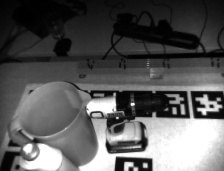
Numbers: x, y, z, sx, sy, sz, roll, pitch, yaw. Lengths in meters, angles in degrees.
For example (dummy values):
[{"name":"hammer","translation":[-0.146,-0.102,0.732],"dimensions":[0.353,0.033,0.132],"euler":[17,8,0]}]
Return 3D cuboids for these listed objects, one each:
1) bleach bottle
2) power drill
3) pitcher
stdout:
[{"name":"bleach bottle","translation":[-0.159,0.166,0.466],"dimensions":[0.102,0.253,0.067],"euler":[-8,55,6]},{"name":"power drill","translation":[0.033,0.082,0.531],"dimensions":[0.184,0.188,0.057],"euler":[-2,58,1]},{"name":"pitcher","translation":[-0.135,0.094,0.538],"dimensions":[0.189,0.244,0.132],"euler":[-23,56,-6]}]
